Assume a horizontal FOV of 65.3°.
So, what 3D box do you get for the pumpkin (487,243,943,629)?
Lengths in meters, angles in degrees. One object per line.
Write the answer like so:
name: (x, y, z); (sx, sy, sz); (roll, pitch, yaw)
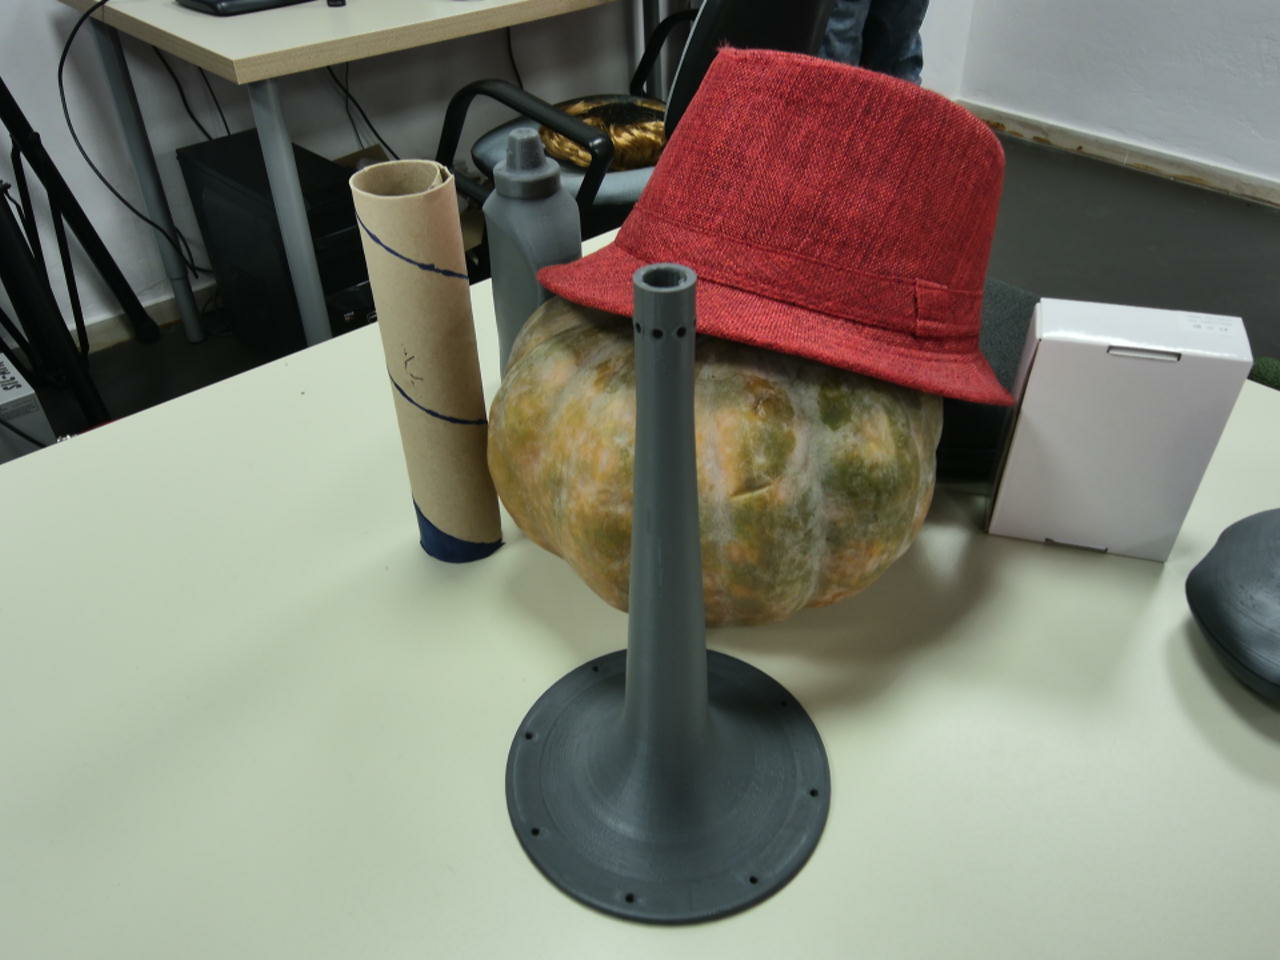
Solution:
pumpkin: (0.040, -0.031, 0.545); (0.252, 0.169, 0.251); (0, 37, 0)
